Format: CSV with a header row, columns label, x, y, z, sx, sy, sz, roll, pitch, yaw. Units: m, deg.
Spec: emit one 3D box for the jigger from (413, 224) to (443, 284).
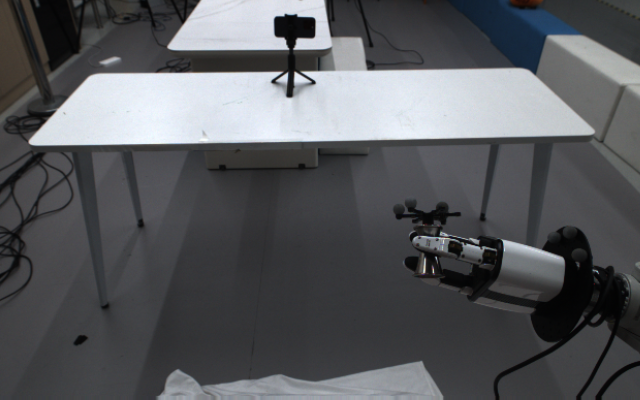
label,x,y,z,sx,sy,sz,roll,pitch,yaw
jigger,0.147,0.069,0.659,0.043,0.043,0.071,3,76,1
